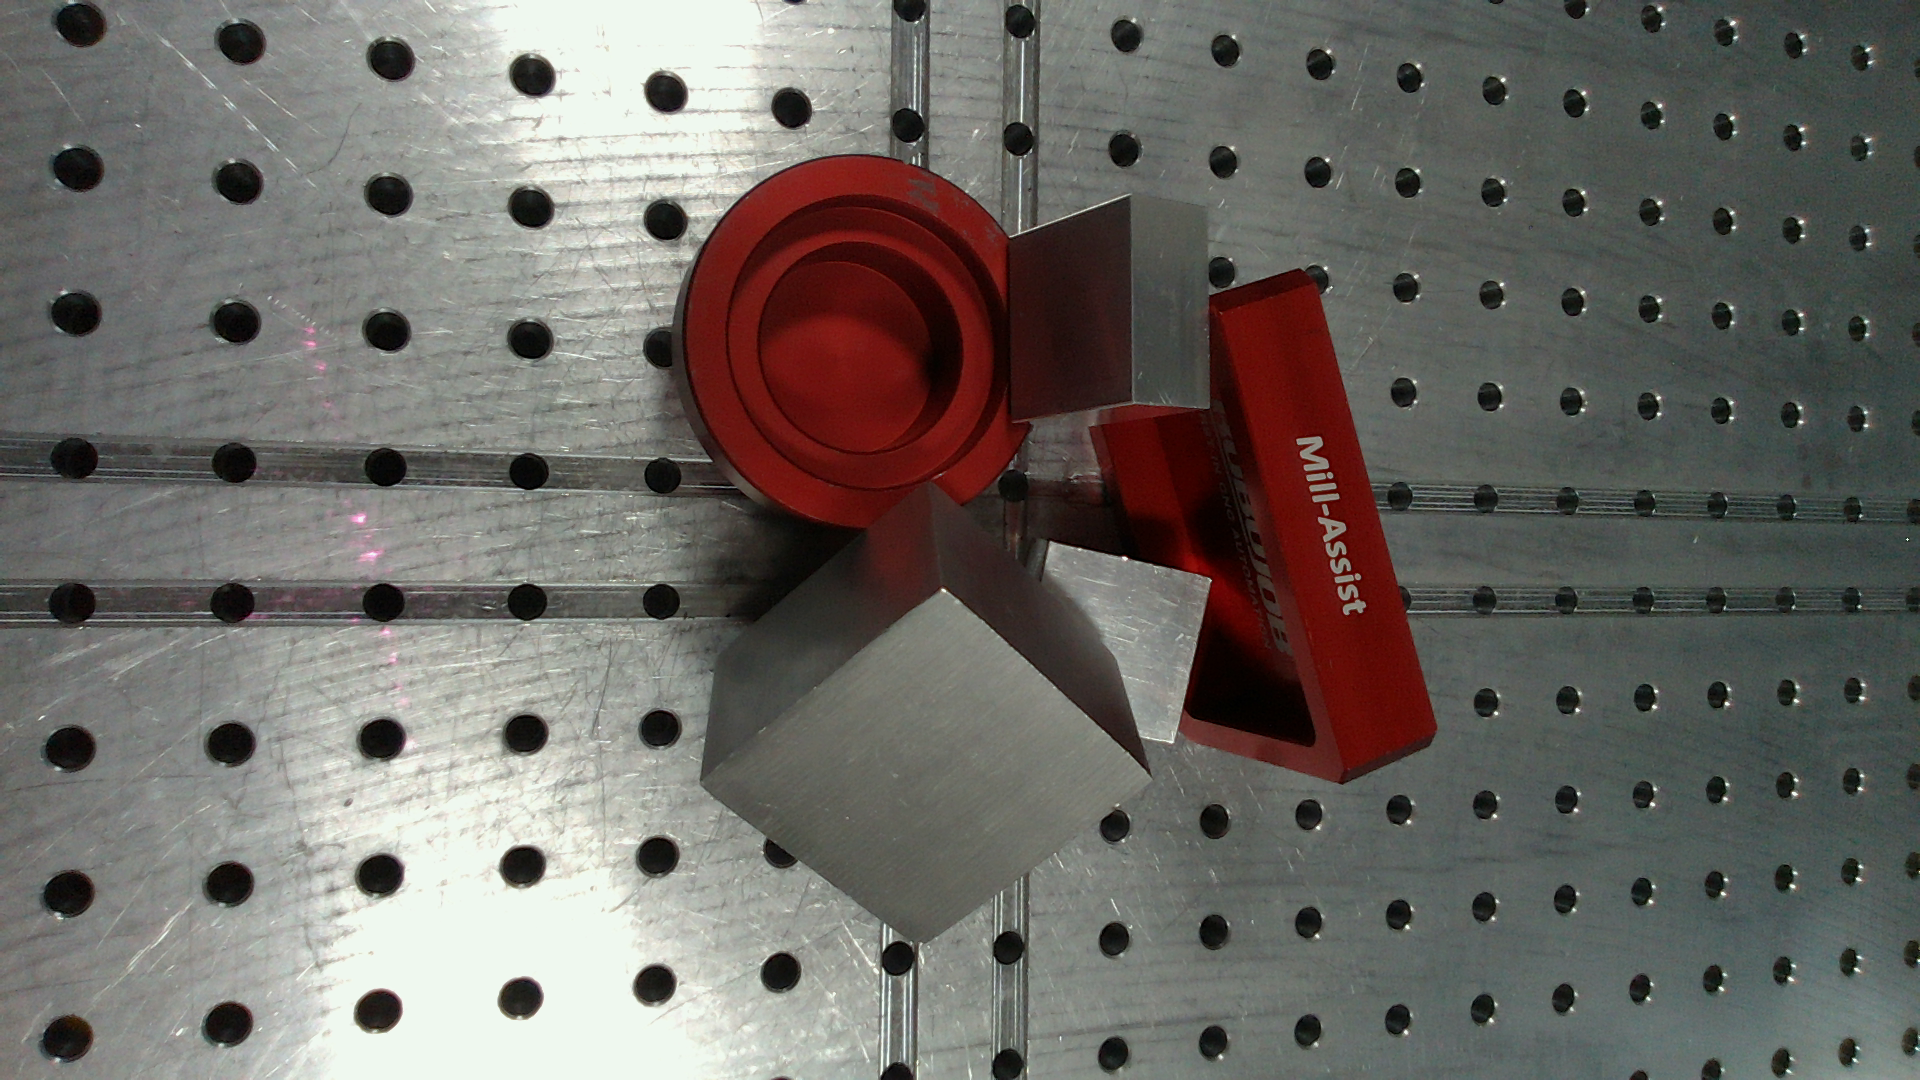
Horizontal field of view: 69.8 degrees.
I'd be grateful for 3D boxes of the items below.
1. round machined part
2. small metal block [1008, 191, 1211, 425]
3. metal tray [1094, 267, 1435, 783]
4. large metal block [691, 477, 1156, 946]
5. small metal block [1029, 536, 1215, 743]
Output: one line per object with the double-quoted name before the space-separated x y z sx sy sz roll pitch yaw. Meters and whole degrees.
"round machined part" -0.030 -0.051 0.376 0.098 0.042 0.098 0 90 -20
"small metal block" 0.037 -0.057 0.353 0.025 0.050 0.050 0 89 -34
"metal tray" 0.079 -0.004 0.390 0.030 0.090 0.130 -19 96 -19
"large metal block" -0.010 0.046 0.355 0.080 0.050 0.080 -39 117 17
"small metal block" 0.043 0.029 0.406 0.050 0.025 0.050 12 90 -8
